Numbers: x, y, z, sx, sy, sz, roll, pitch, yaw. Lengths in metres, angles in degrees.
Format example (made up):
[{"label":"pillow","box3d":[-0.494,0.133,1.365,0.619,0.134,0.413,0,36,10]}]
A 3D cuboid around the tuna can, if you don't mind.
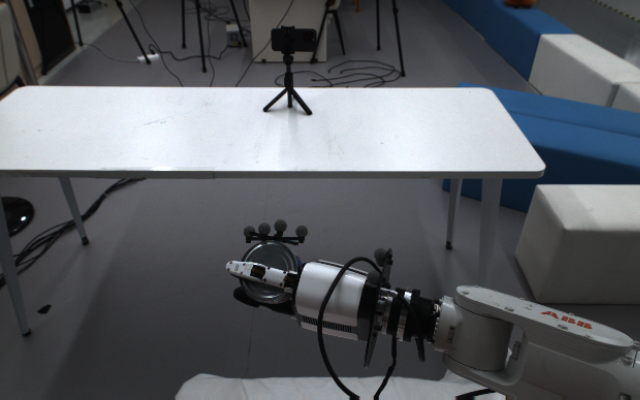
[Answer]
[{"label":"tuna can","box3d":[-0.067,0.101,0.674,0.085,0.034,0.085,-5,71,14]}]
